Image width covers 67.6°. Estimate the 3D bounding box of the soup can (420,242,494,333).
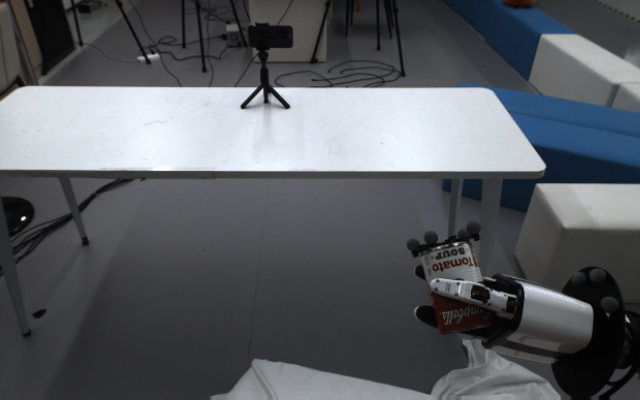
[{"bbox_3d":[0.170,0.107,0.598,0.067,0.067,0.101,-8,74,-14],"label":"soup can"}]
